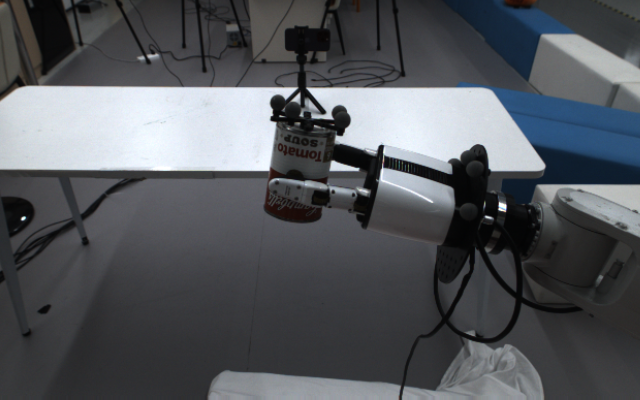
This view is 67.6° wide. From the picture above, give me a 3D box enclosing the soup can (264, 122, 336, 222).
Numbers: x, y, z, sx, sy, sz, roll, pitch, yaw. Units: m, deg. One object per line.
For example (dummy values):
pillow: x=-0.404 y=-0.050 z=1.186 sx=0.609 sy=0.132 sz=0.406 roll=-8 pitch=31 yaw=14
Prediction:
soup can: x=-0.021 y=-0.035 z=0.541 sx=0.067 sy=0.101 sz=0.067 roll=9 pitch=20 yaw=-3
